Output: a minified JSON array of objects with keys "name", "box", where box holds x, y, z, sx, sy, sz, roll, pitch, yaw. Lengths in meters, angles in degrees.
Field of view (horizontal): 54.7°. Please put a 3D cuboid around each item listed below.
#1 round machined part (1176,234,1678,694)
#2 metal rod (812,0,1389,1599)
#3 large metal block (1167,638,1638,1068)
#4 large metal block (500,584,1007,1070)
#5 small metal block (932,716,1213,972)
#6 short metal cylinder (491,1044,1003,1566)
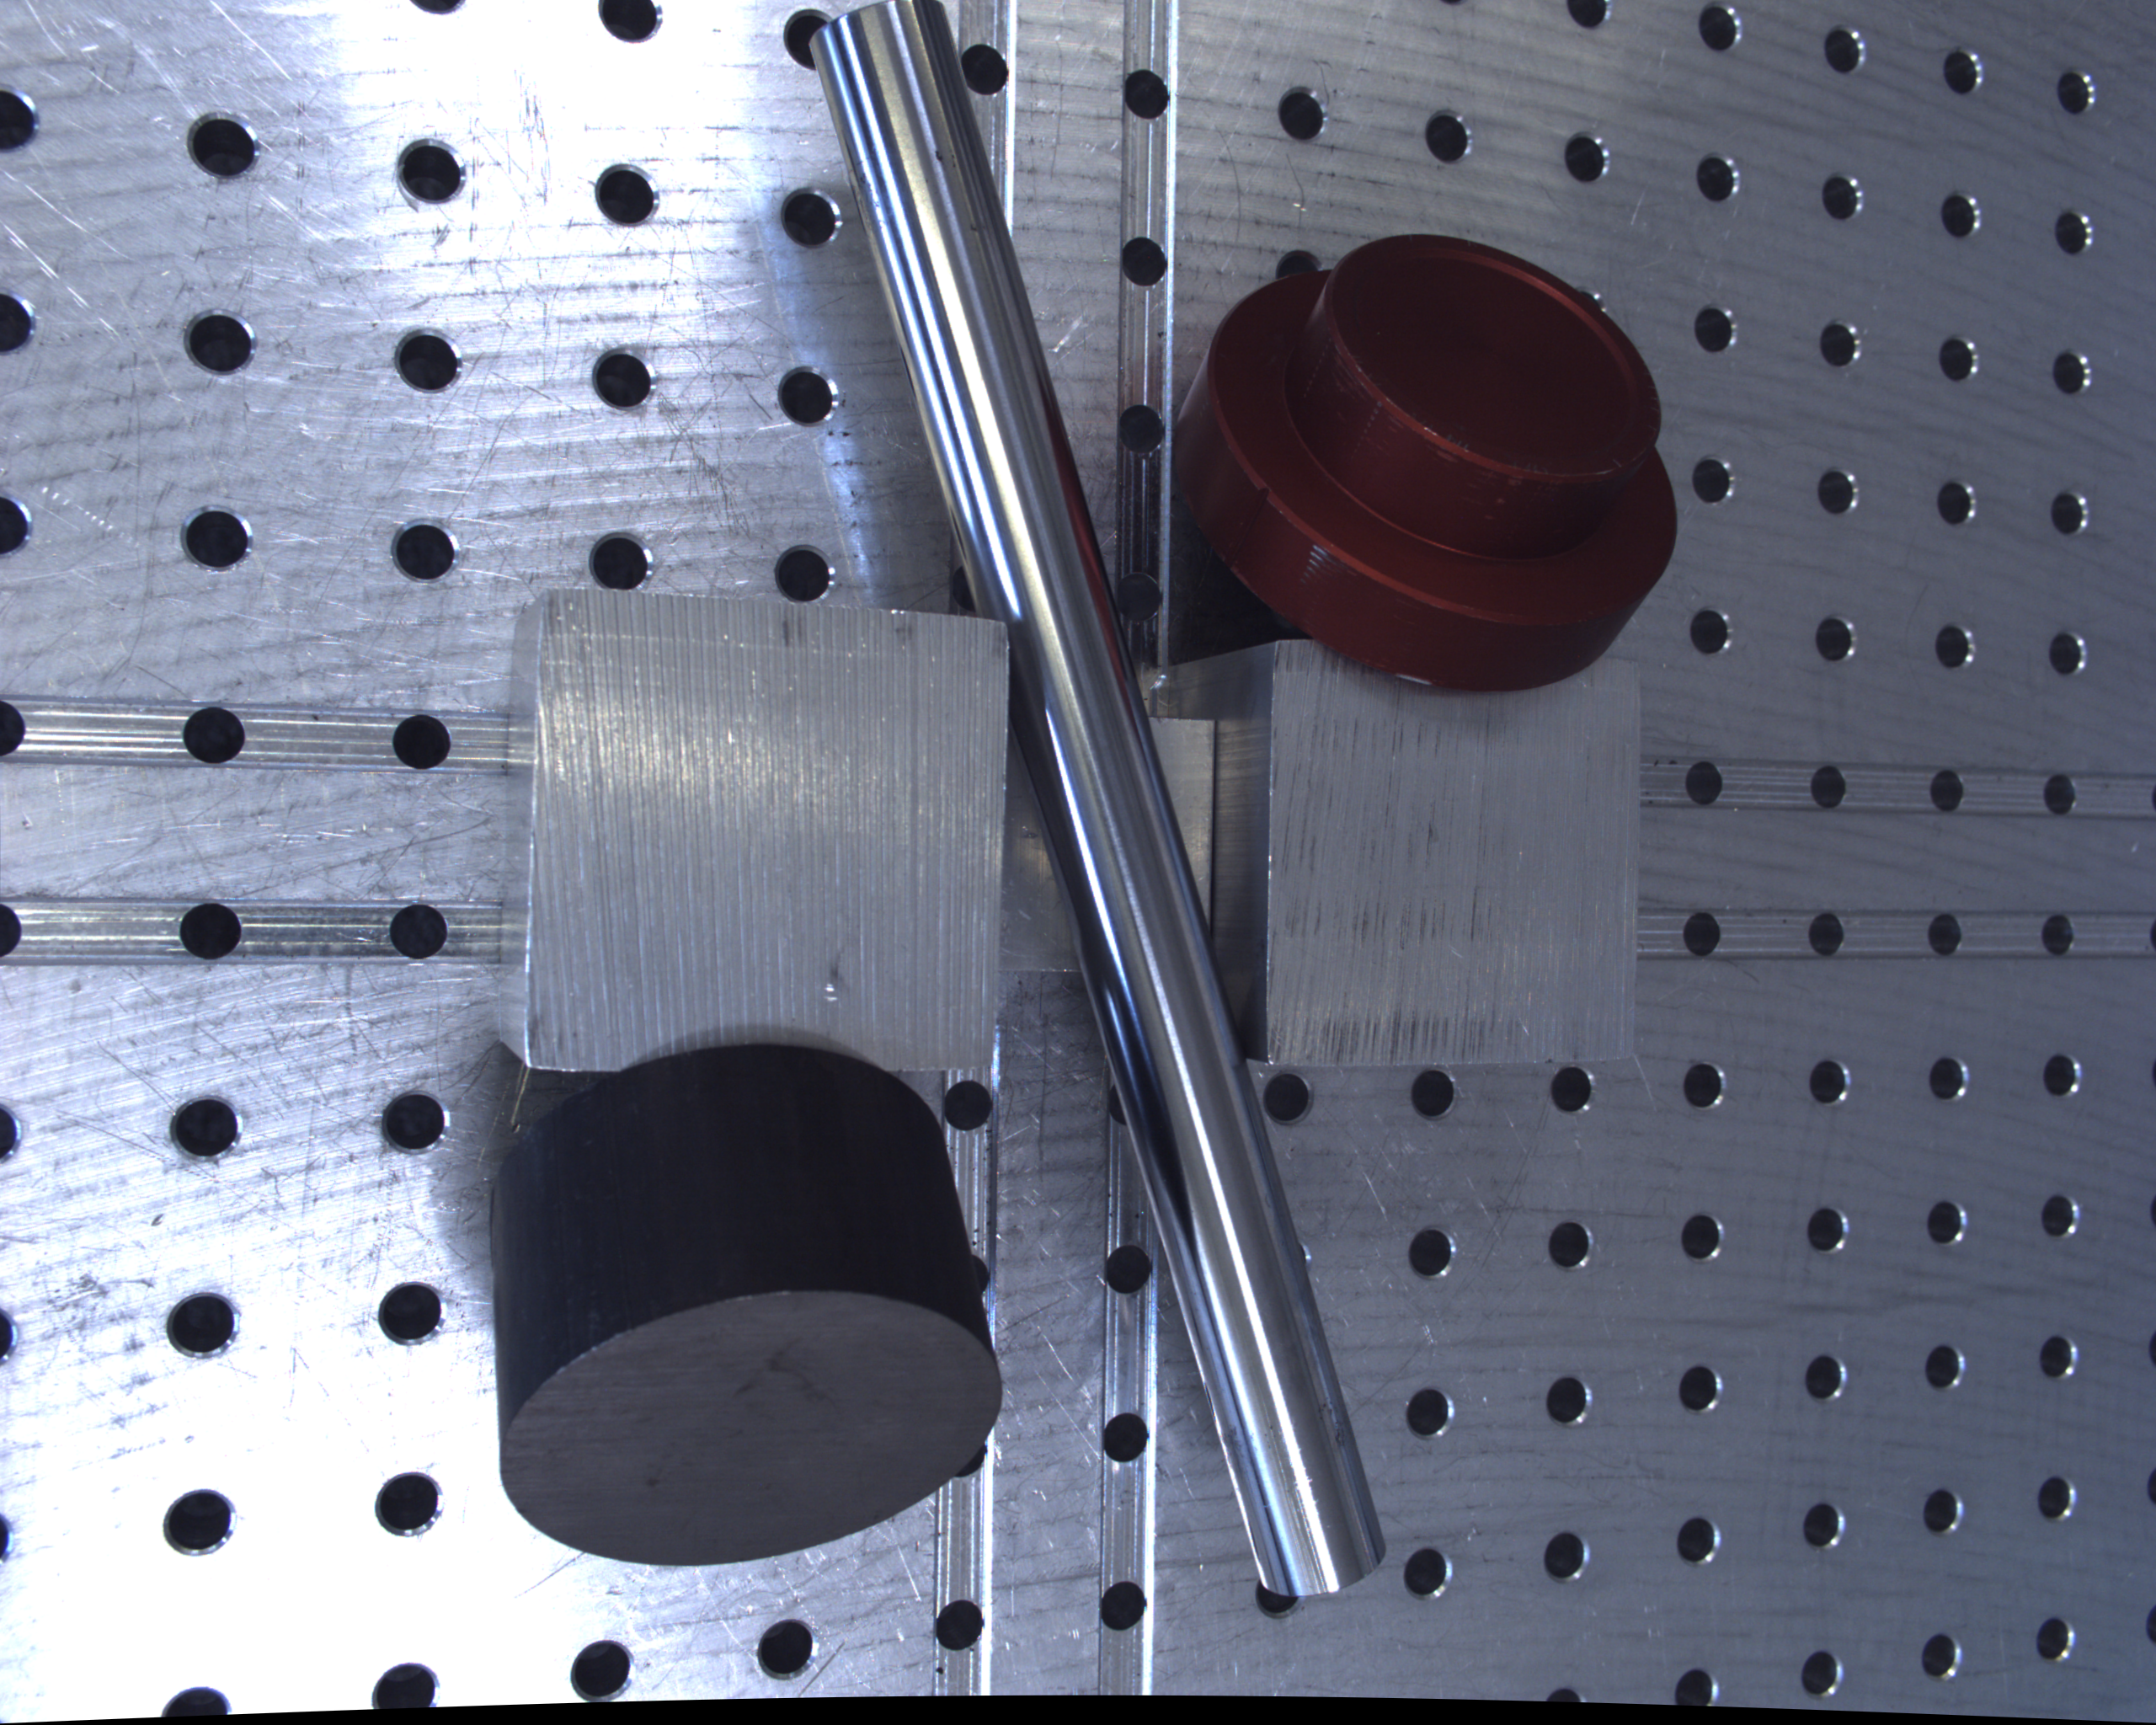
[{"name":"round machined part","box":[0.072,-0.083,0.404,0.099,0.042,0.098,10,52,-13]},{"name":"metal rod","box":[0.006,-0.007,0.387,0.025,0.025,0.298,-18,96,-19]},{"name":"large metal block","box":[0.064,-0.001,0.424,0.081,0.050,0.080,1,90,-20]},{"name":"large metal block","box":[-0.060,-0.005,0.378,0.081,0.050,0.080,2,89,-20]},{"name":"small metal block","box":[-0.002,-0.004,0.412,0.050,0.025,0.050,1,90,-20]},{"name":"short metal cylinder","box":[-0.057,0.076,0.356,0.081,0.050,0.080,-10,135,-9]}]
